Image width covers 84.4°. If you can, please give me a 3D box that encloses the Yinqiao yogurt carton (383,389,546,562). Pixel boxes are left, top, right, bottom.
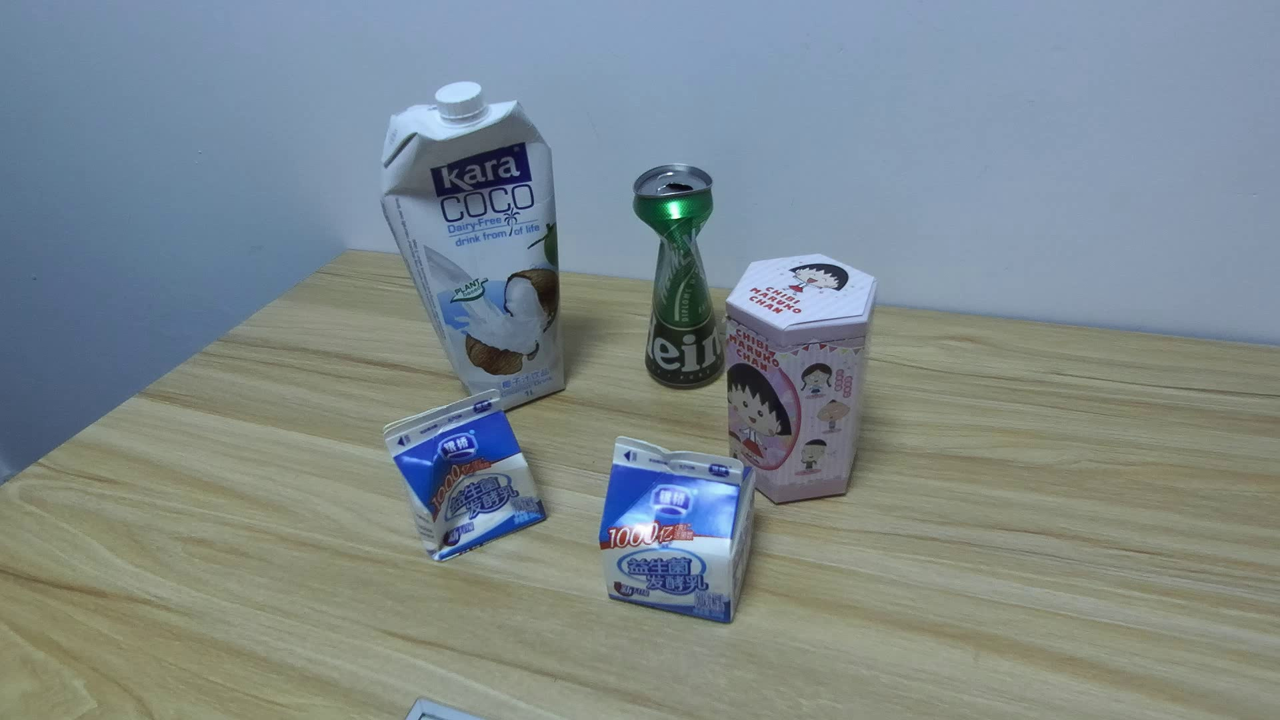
[{"bbox_3d":[-0.112,0.062,0.442,0.077,0.094,0.070,-20,42,-17],"label":"Yinqiao yogurt carton"}]

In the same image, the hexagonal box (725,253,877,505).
[{"bbox_3d":[0.098,0.014,0.442,0.084,0.136,0.091,-26,40,-28],"label":"hexagonal box"}]

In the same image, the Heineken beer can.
[{"bbox_3d":[0.031,-0.060,0.534,0.066,0.164,0.078,16,41,31],"label":"Heineken beer can"}]

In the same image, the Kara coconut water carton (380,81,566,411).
[{"bbox_3d":[-0.113,-0.075,0.510,0.115,0.239,0.069,-20,39,-21],"label":"Kara coconut water carton"}]

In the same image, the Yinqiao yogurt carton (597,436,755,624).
[{"bbox_3d":[0.023,0.083,0.393,0.075,0.092,0.074,7,36,16],"label":"Yinqiao yogurt carton"}]
